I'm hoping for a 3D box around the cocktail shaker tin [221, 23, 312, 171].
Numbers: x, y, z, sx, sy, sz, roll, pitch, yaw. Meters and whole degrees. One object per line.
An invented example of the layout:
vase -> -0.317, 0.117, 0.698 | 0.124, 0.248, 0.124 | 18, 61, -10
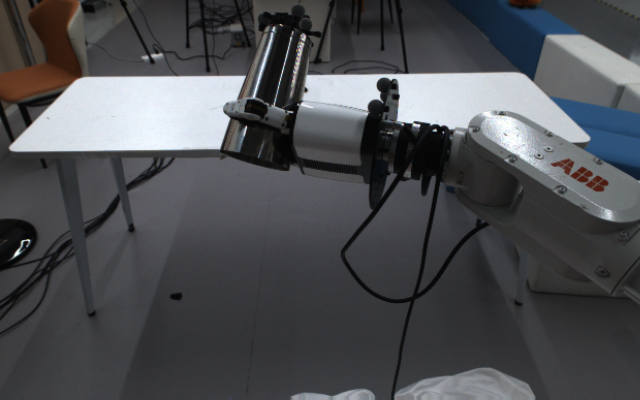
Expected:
cocktail shaker tin -> -0.063, -0.132, 0.626 | 0.093, 0.170, 0.093 | 15, -4, 1
